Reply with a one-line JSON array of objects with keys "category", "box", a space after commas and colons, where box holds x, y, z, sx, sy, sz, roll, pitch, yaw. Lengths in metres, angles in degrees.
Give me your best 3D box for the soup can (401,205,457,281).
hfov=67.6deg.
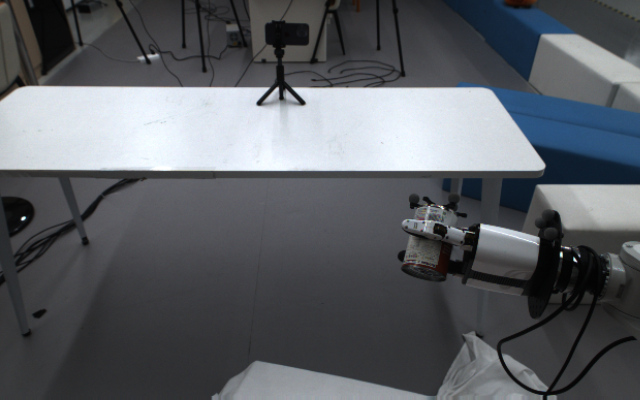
[{"category": "soup can", "box": [0.168, 0.063, 0.736, 0.067, 0.067, 0.101, 12, 71, 14]}]
